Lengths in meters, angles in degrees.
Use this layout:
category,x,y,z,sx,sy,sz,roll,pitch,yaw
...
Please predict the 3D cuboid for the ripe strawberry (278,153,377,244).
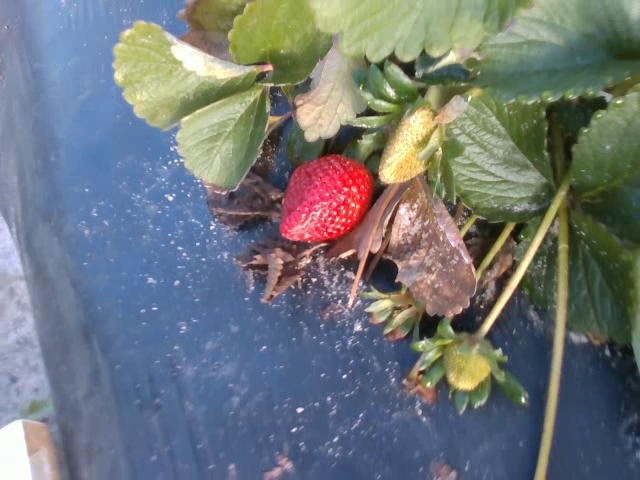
category,x,y,z,sx,sy,sz,roll,pitch,yaw
ripe strawberry,-0.002,-0.011,0.178,0.031,0.030,0.026,23,-32,30
